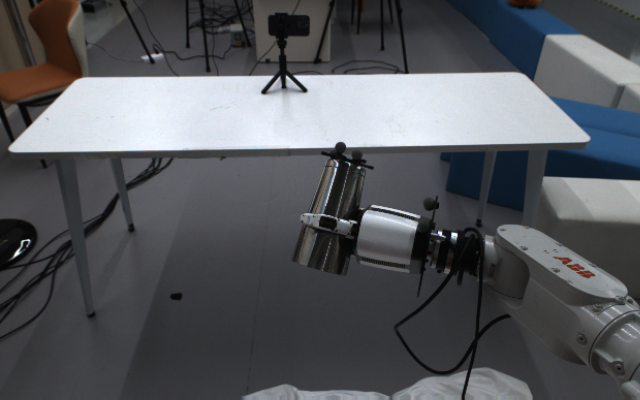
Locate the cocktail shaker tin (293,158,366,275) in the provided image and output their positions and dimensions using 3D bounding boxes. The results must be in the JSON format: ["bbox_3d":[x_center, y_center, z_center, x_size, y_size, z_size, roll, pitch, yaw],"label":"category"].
[{"bbox_3d":[0.020,0.026,0.773,0.093,0.170,0.093,15,-4,1],"label":"cocktail shaker tin"}]
